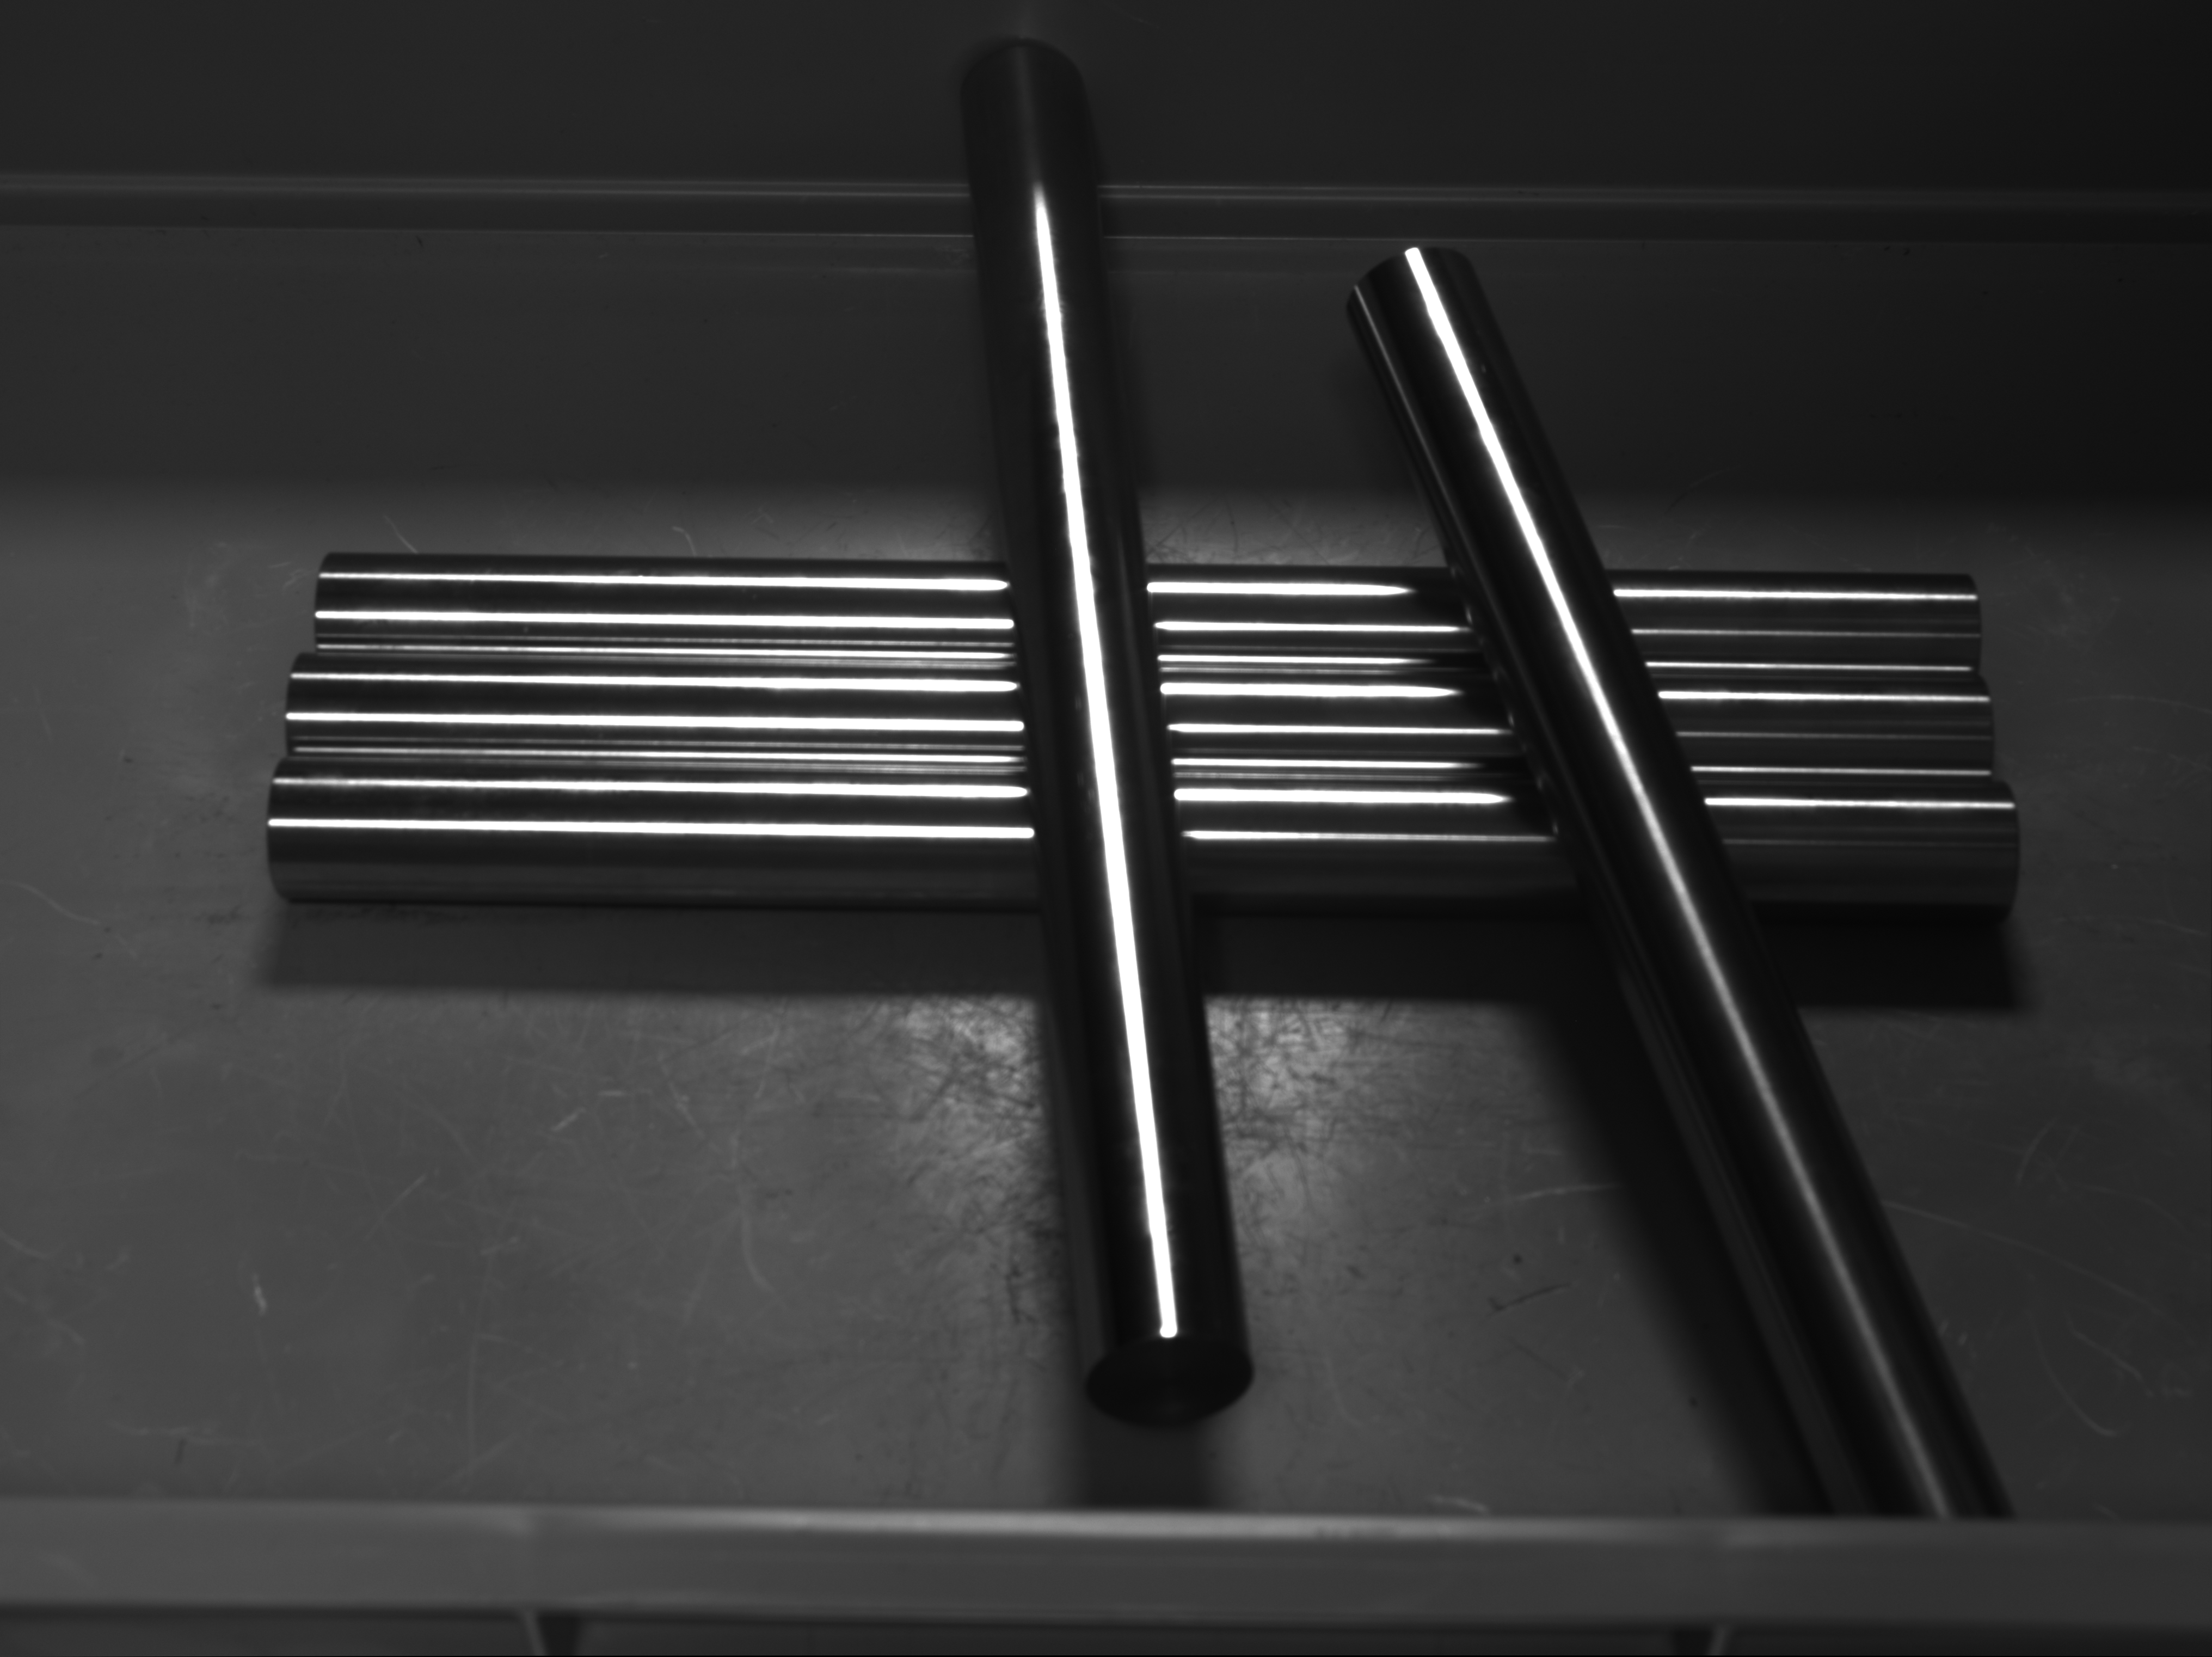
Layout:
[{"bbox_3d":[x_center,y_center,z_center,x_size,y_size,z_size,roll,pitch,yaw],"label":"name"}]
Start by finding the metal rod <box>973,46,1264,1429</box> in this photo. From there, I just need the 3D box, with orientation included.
[{"bbox_3d":[-0.002,-0.032,0.635,0.025,0.025,0.300,-4,50,-3],"label":"metal rod"}]

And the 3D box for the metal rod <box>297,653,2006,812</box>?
[{"bbox_3d":[0.008,-0.017,0.655,0.300,0.025,0.025,1,50,1],"label":"metal rod"}]

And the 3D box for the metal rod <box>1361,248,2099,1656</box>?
[{"bbox_3d":[0.099,0.023,0.595,0.025,0.025,0.300,-12,58,-10],"label":"metal rod"}]

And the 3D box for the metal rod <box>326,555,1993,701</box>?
[{"bbox_3d":[0.009,-0.036,0.671,0.300,0.025,0.025,1,50,1],"label":"metal rod"}]

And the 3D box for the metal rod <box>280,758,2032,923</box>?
[{"bbox_3d":[0.008,0.002,0.639,0.300,0.025,0.025,1,50,1],"label":"metal rod"}]
